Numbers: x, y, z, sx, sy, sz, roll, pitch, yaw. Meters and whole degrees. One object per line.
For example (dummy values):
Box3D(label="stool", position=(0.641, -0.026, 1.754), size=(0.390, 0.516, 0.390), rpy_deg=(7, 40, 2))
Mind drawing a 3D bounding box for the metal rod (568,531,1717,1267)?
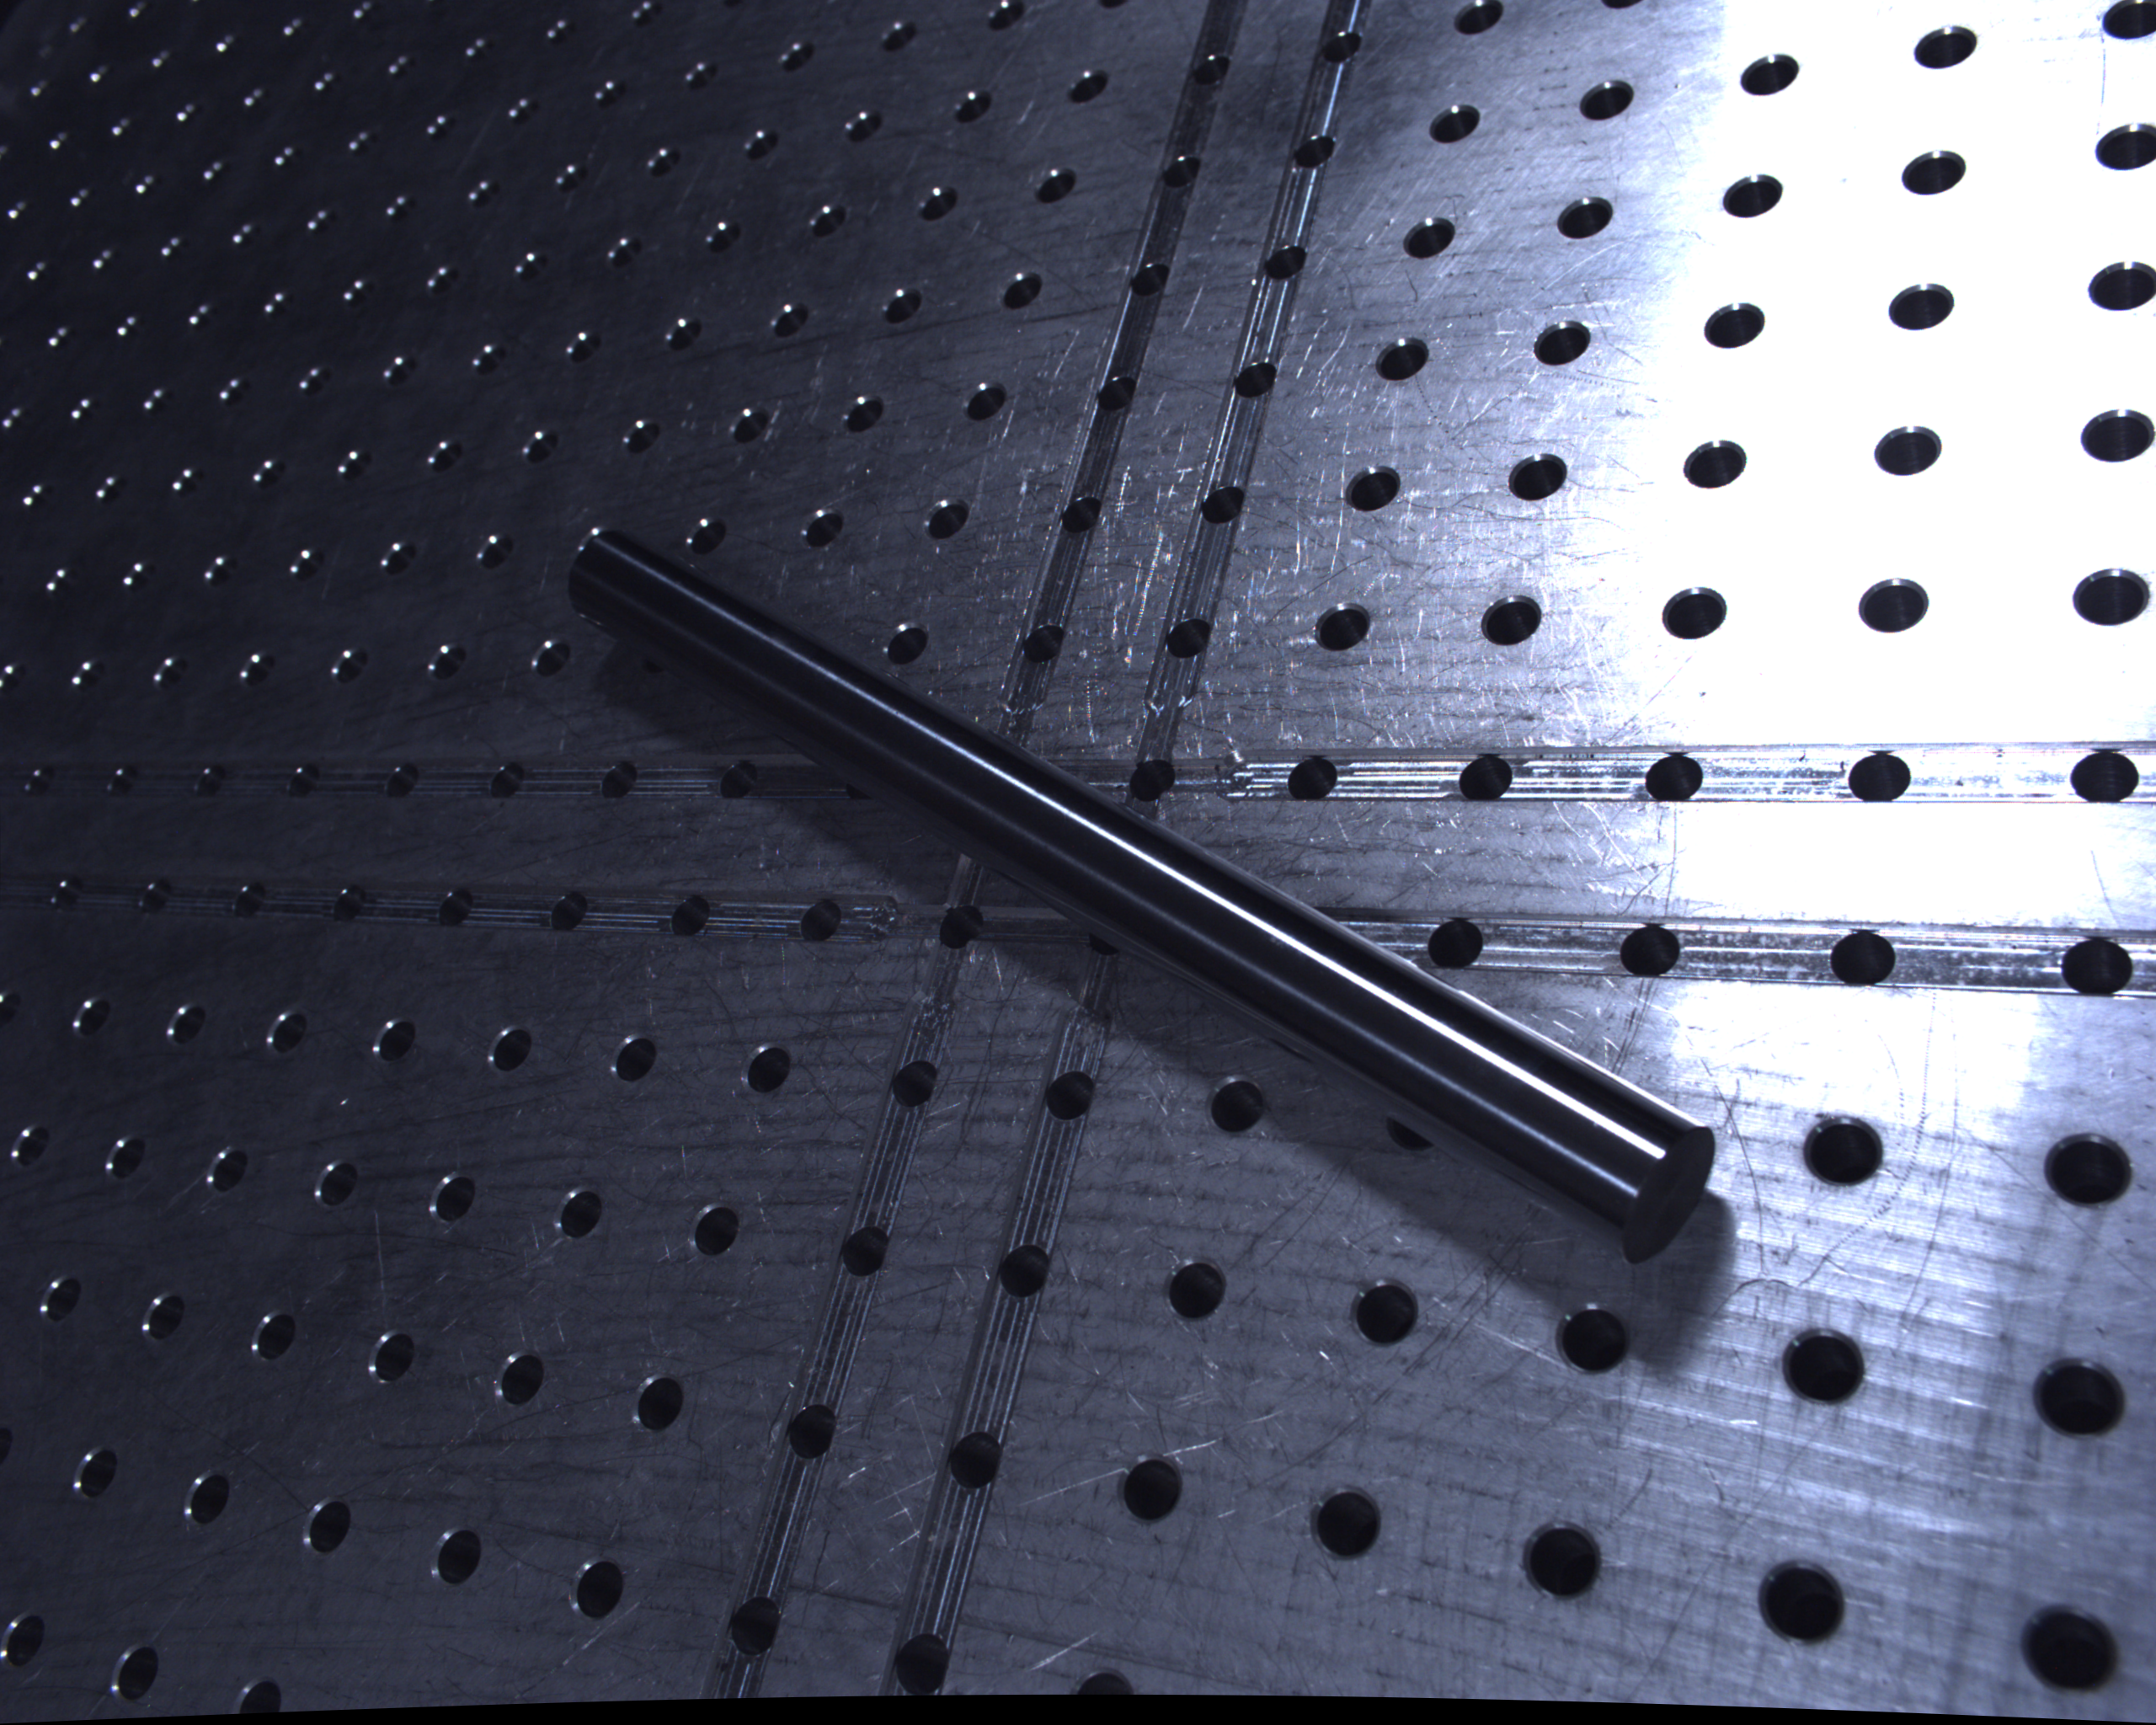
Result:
Box3D(label="metal rod", position=(-0.010, -0.008, 0.417), size=(0.300, 0.025, 0.025), rpy_deg=(31, 79, 37))
